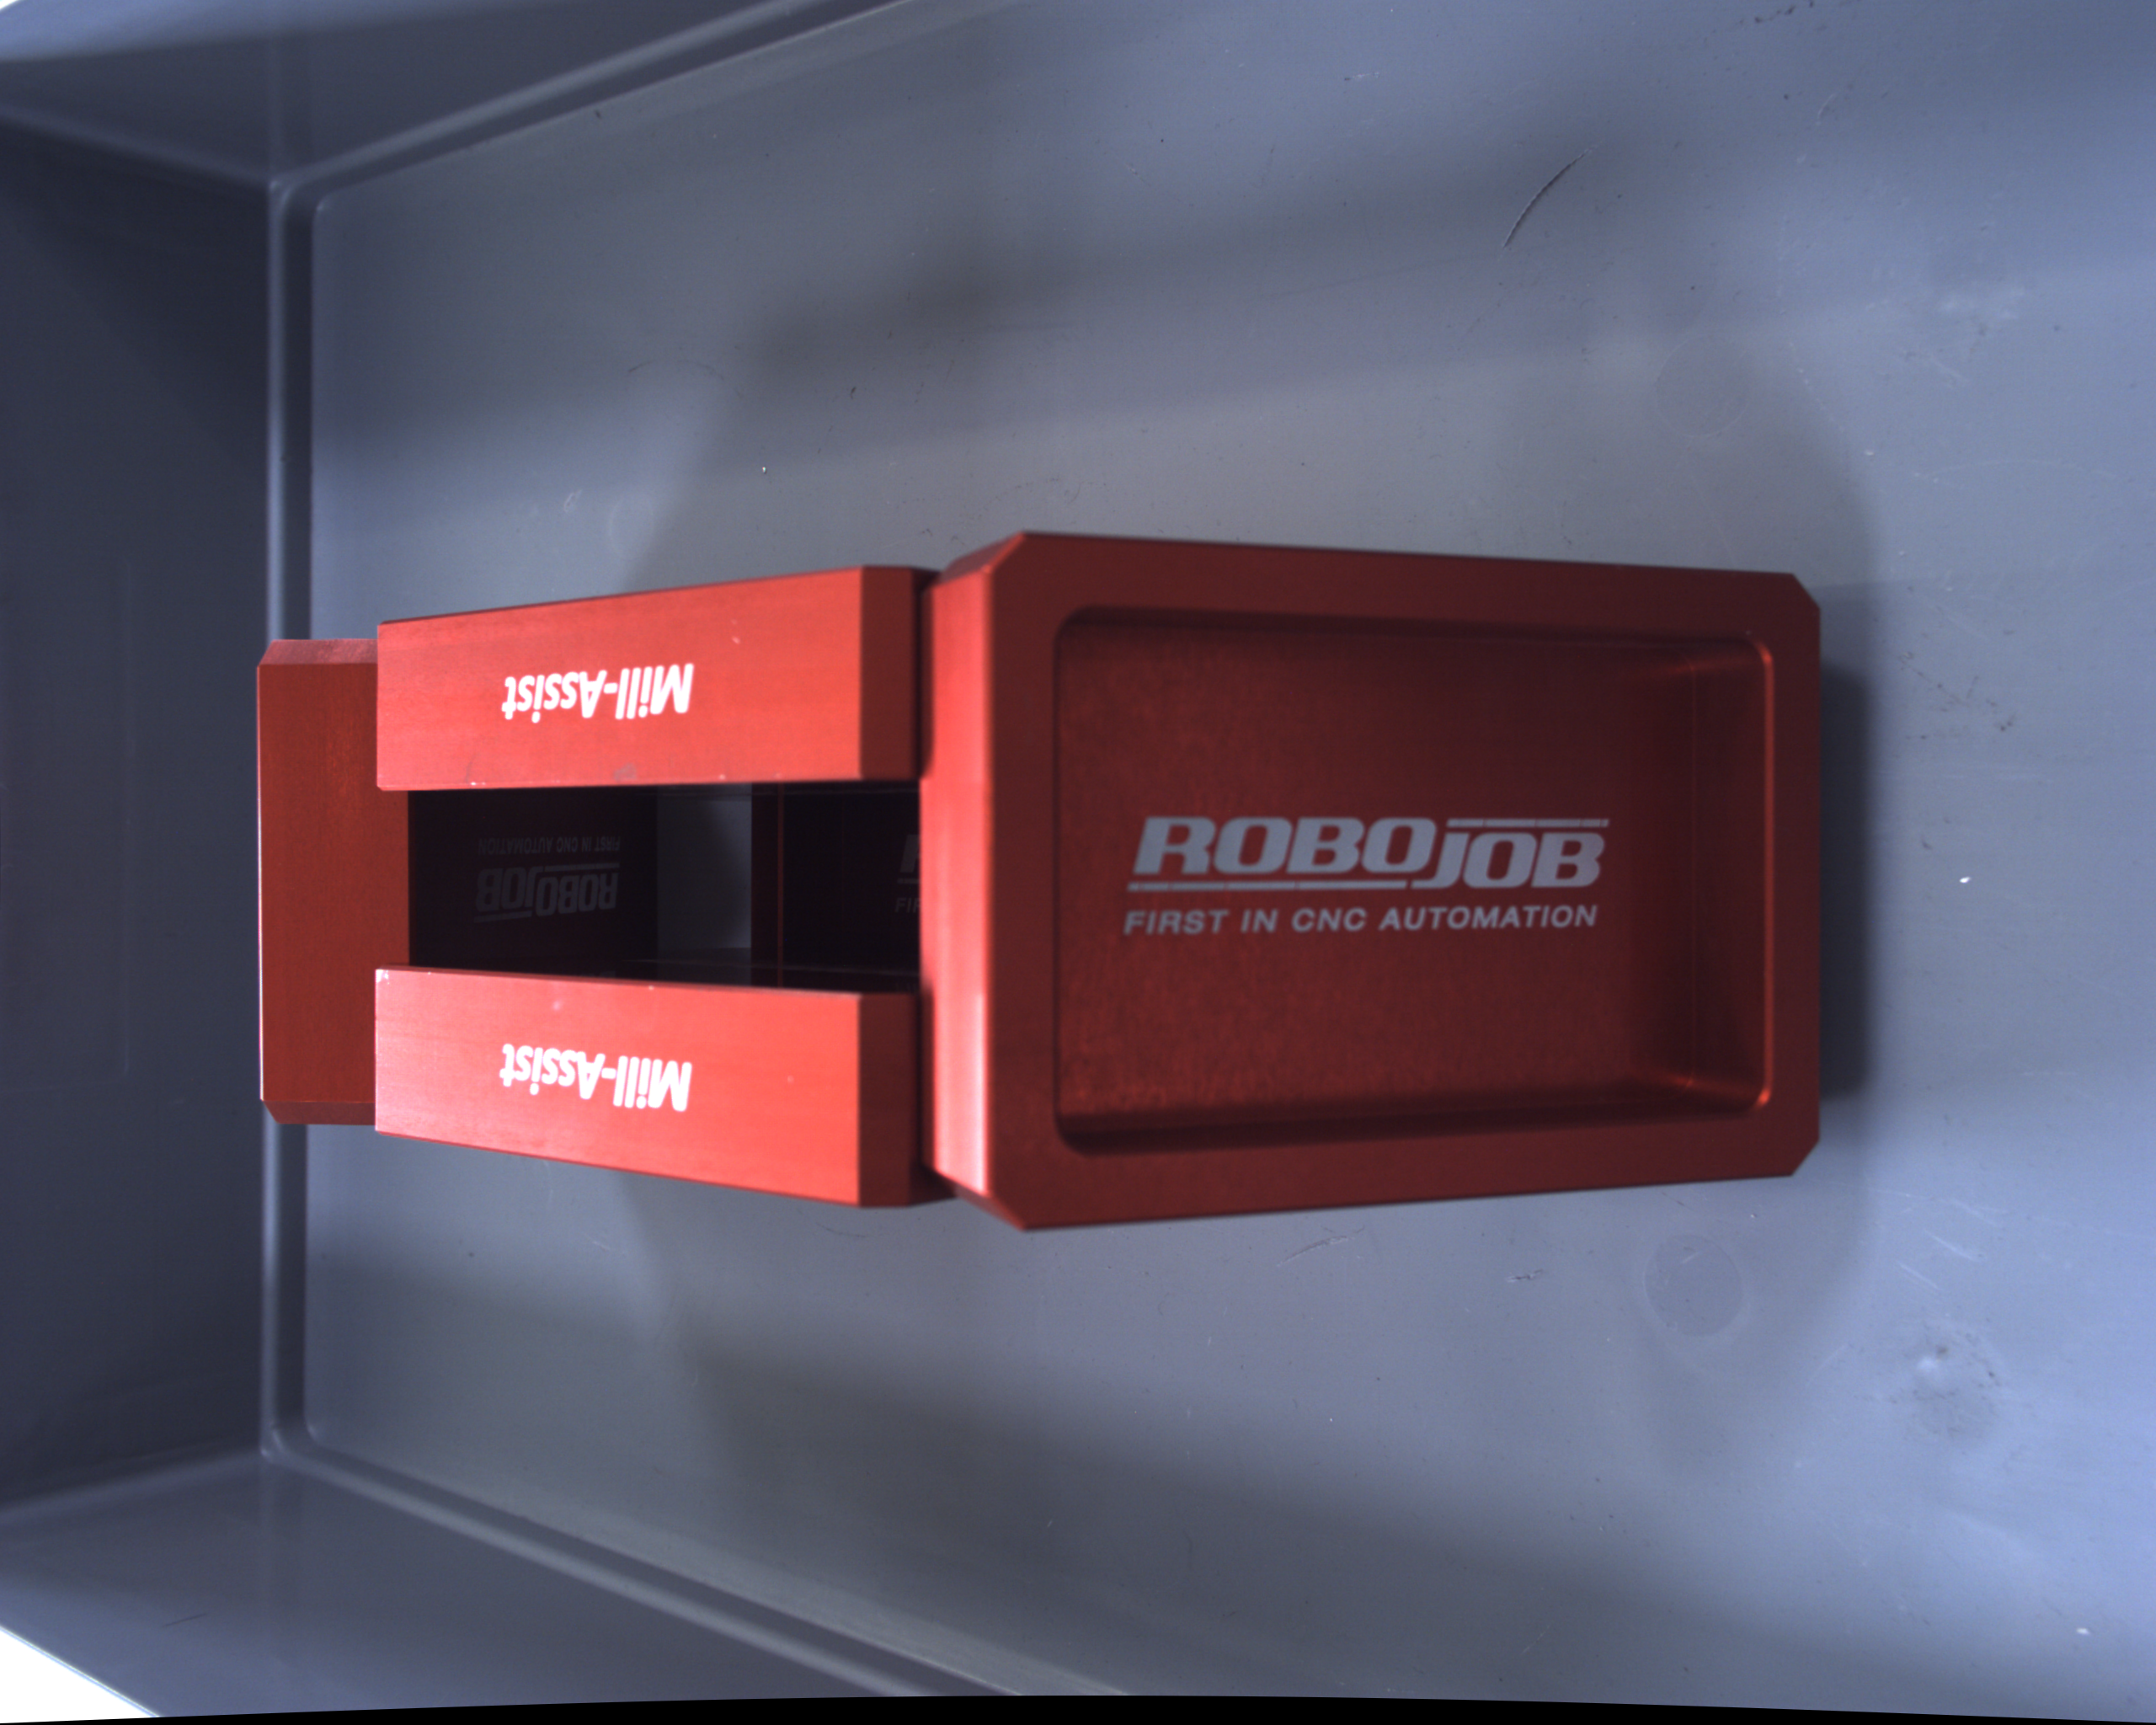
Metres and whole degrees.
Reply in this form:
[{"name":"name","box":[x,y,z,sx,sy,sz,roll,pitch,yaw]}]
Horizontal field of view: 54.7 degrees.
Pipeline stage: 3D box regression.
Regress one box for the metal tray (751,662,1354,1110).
[{"name":"metal tray","box":[-0.009,0.003,0.410,0.130,0.030,0.089,0,90,39]}]

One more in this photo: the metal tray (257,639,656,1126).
[{"name":"metal tray","box":[-0.126,0.003,0.443,0.030,0.130,0.089,0,91,8]}]

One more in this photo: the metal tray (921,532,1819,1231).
[{"name":"metal tray","box":[0.044,0.002,0.301,0.030,0.131,0.089,-179,88,-69]}]

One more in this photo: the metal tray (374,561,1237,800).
[{"name":"metal tray","box":[-0.048,-0.027,0.362,0.130,0.091,0.030,1,90,40]}]

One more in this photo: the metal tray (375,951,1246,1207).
[{"name":"metal tray","box":[-0.048,0.033,0.363,0.130,0.091,0.030,0,90,39]}]
